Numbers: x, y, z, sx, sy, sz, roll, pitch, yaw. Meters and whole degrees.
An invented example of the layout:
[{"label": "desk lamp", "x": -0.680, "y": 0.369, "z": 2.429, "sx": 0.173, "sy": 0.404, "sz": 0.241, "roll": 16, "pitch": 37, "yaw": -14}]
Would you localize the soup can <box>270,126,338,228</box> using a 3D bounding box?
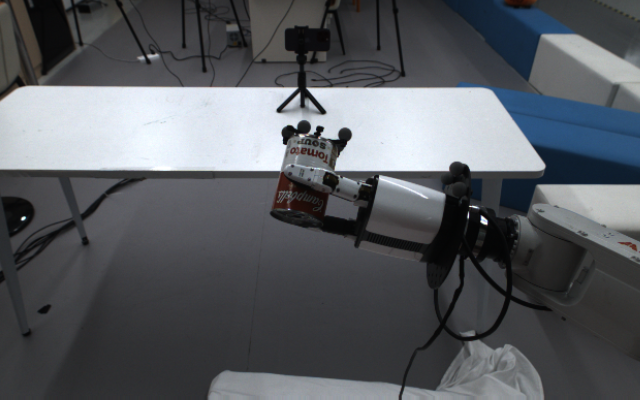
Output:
[{"label": "soup can", "x": -0.018, "y": -0.024, "z": 0.607, "sx": 0.067, "sy": 0.067, "sz": 0.101, "roll": 9, "pitch": 74, "yaw": 9}]
